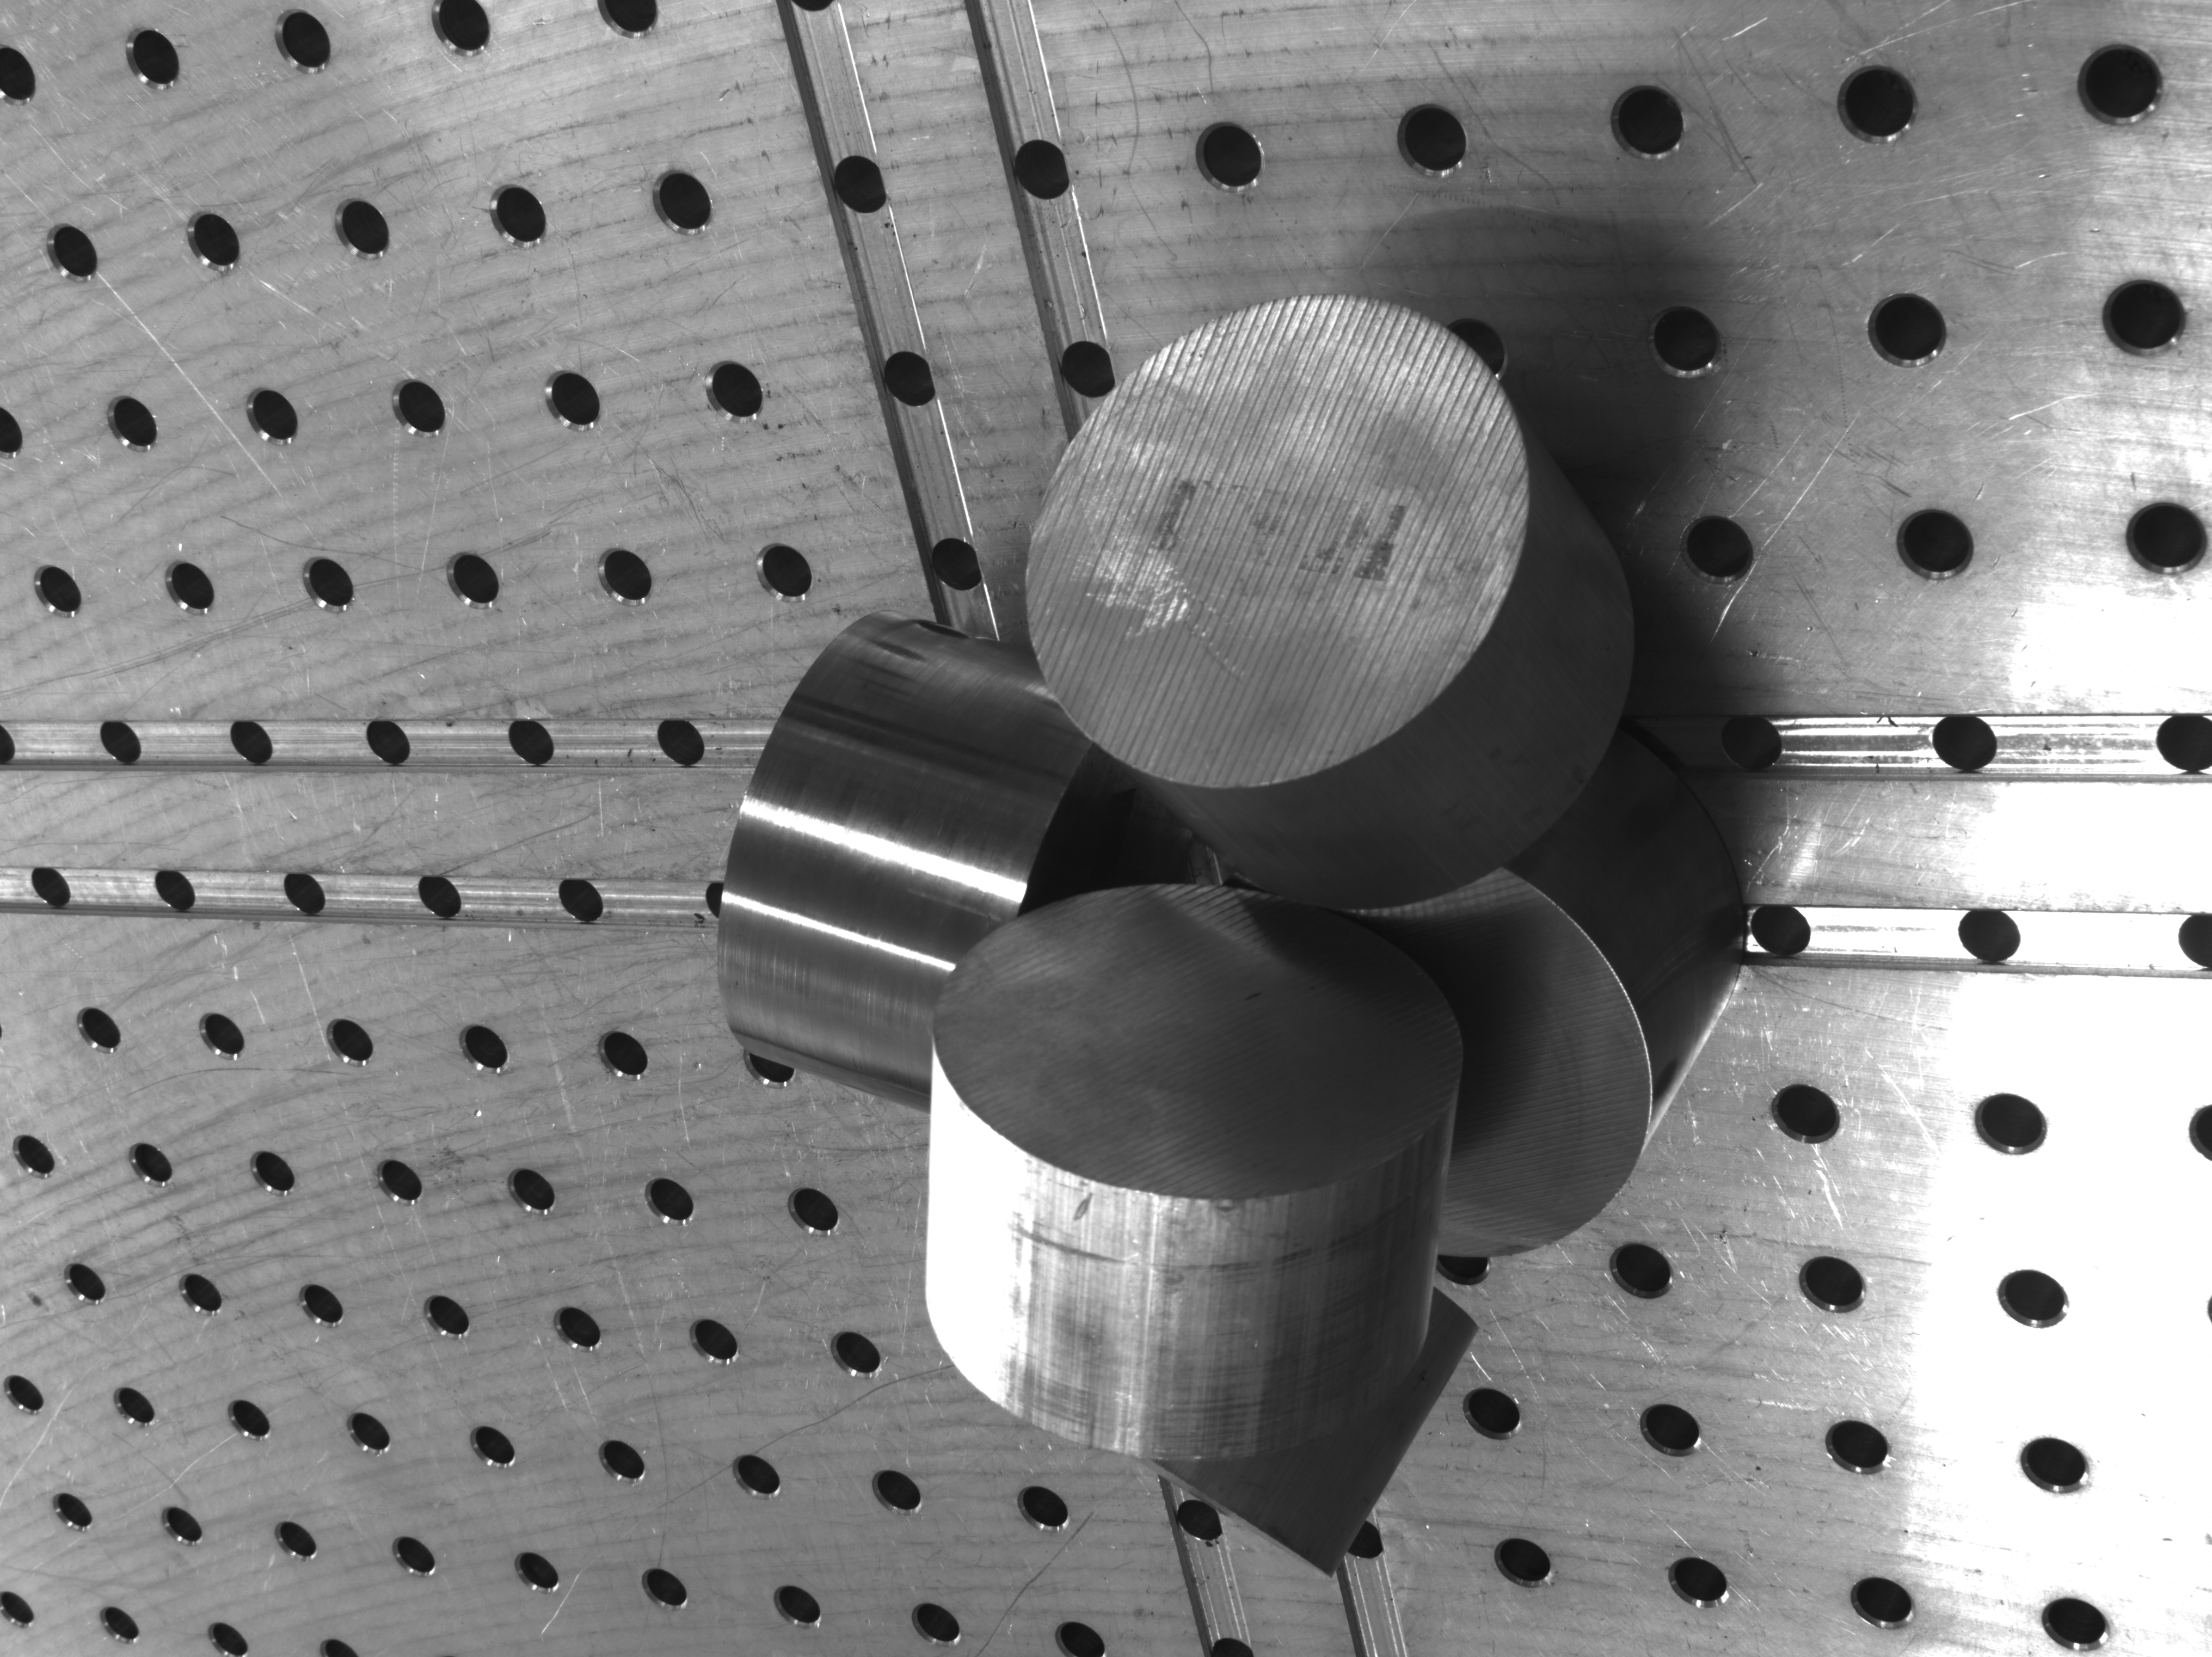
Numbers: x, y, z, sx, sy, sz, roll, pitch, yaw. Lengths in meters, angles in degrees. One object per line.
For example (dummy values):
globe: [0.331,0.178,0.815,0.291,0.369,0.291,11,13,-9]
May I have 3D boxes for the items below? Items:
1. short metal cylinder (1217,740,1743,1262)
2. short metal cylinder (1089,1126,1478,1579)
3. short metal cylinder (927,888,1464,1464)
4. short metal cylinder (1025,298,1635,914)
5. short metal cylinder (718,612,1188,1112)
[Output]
short metal cylinder: [0.059,0.024,0.611,0.080,0.050,0.080,13,123,22]
short metal cylinder: [0.018,0.089,0.647,0.080,0.050,0.080,31,171,6]
short metal cylinder: [0.013,0.052,0.569,0.080,0.080,0.050,16,125,19]
short metal cylinder: [0.035,-0.033,0.562,0.080,0.080,0.050,2,159,27]
short metal cylinder: [-0.024,0.008,0.628,0.050,0.080,0.080,17,125,19]
